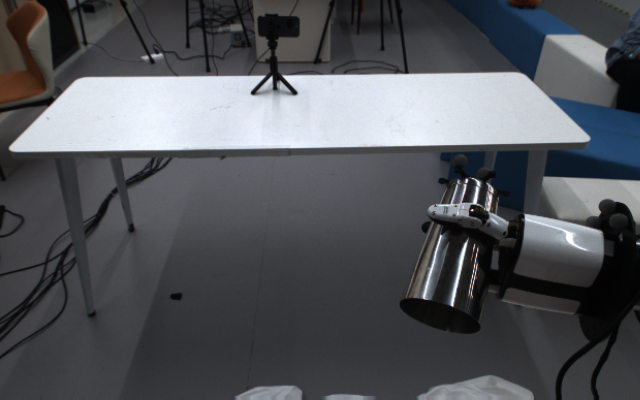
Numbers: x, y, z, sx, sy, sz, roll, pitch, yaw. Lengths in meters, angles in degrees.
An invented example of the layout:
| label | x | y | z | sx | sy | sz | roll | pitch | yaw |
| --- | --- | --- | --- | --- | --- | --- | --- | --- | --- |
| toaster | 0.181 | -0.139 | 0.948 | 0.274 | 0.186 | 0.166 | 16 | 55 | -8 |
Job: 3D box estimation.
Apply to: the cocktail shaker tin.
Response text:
| label | x | y | z | sx | sy | sz | roll | pitch | yaw |
| --- | --- | --- | --- | --- | --- | --- | --- | --- | --- |
| cocktail shaker tin | 0.165 | 0.059 | 0.573 | 0.093 | 0.093 | 0.170 | 14 | 61 | 17 |
